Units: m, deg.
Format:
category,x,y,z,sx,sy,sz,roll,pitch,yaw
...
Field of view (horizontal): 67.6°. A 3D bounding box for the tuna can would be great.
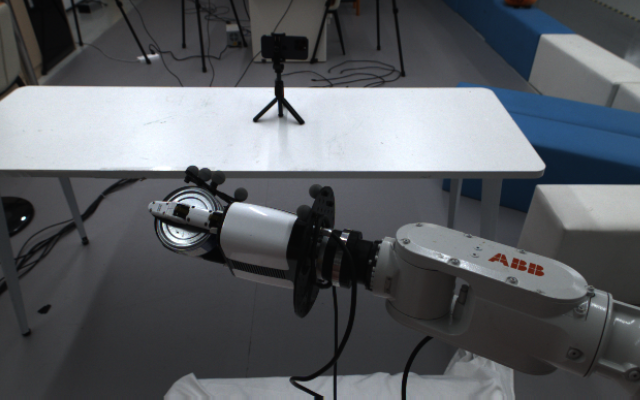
category,x,y,z,sx,sy,sz,roll,pitch,yaw
tuna can,-0.160,0.027,0.613,0.085,0.034,0.085,-4,67,10
